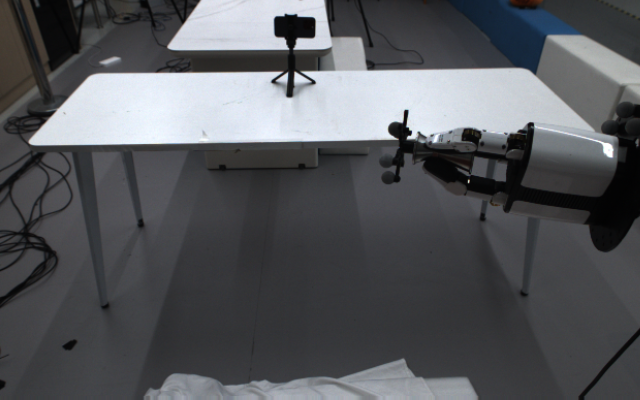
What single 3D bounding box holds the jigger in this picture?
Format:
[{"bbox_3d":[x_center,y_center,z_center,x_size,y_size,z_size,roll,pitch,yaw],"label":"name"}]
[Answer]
[{"bbox_3d":[0.153,-0.061,0.572,0.071,0.043,0.043,10,35,16],"label":"jigger"}]
